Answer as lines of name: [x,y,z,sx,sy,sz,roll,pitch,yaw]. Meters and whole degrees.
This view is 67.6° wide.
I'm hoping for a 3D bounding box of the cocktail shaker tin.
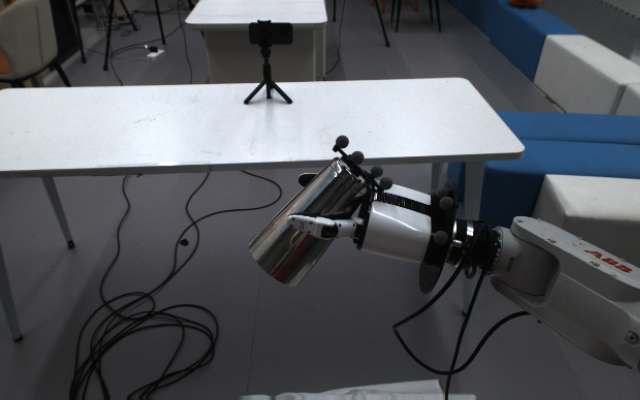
cocktail shaker tin: [-0.009,0.022,0.666,0.093,0.170,0.093,41,13,-11]
